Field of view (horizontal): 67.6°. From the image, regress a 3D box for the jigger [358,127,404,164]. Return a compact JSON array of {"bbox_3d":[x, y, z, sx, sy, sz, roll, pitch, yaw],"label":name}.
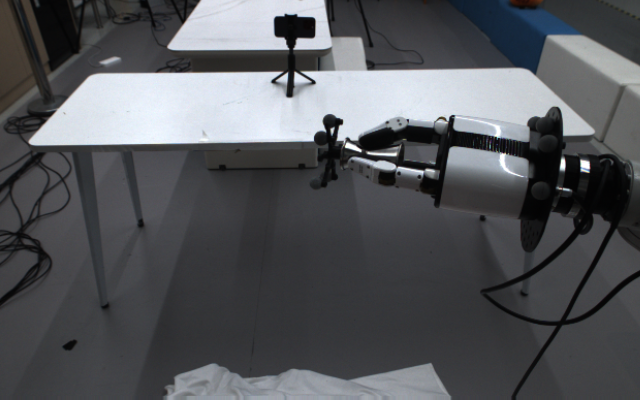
[{"bbox_3d":[0.068,-0.053,0.571,0.071,0.043,0.043,9,35,17],"label":"jigger"}]
